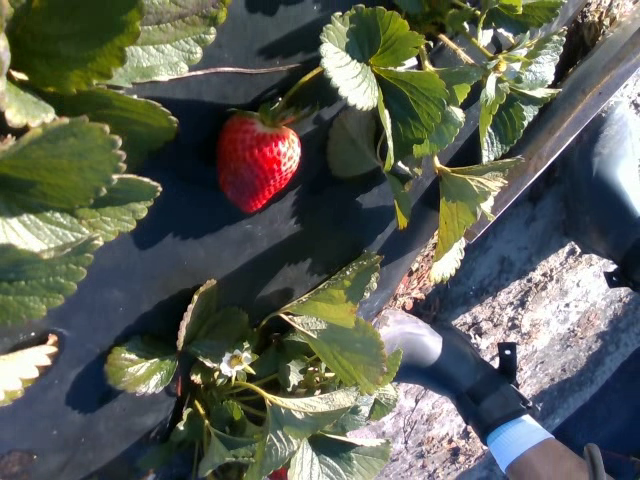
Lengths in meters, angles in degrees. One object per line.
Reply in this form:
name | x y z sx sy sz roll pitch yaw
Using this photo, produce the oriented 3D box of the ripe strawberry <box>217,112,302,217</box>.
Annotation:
ripe strawberry | -0.030 -0.037 0.286 0.044 0.056 0.042 20 16 5
